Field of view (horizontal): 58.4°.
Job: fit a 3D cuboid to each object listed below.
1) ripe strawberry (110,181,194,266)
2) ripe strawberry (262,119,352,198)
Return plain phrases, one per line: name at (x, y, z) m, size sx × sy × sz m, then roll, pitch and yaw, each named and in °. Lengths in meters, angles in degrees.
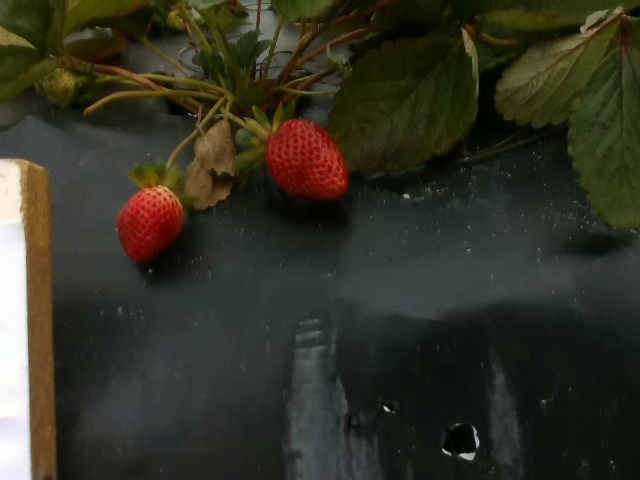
ripe strawberry at (-0.080, -0.009, 0.261) m, size 0.036 × 0.041 × 0.028 m, roll -5°, pitch -23°, yaw 13°
ripe strawberry at (-0.006, -0.038, 0.272) m, size 0.059 × 0.044 × 0.042 m, roll 43°, pitch 10°, yaw 28°
